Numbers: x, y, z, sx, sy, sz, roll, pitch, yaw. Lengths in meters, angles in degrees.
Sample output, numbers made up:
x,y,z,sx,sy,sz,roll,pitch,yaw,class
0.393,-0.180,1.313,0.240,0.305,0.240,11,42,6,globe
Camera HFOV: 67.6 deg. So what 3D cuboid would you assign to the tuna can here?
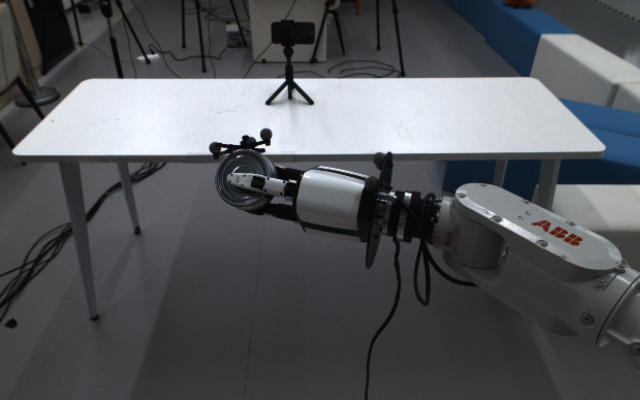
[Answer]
x,y,z,sx,sy,sz,roll,pitch,yaw,class
-0.101,-0.023,0.684,0.085,0.085,0.034,12,-6,14,tuna can
